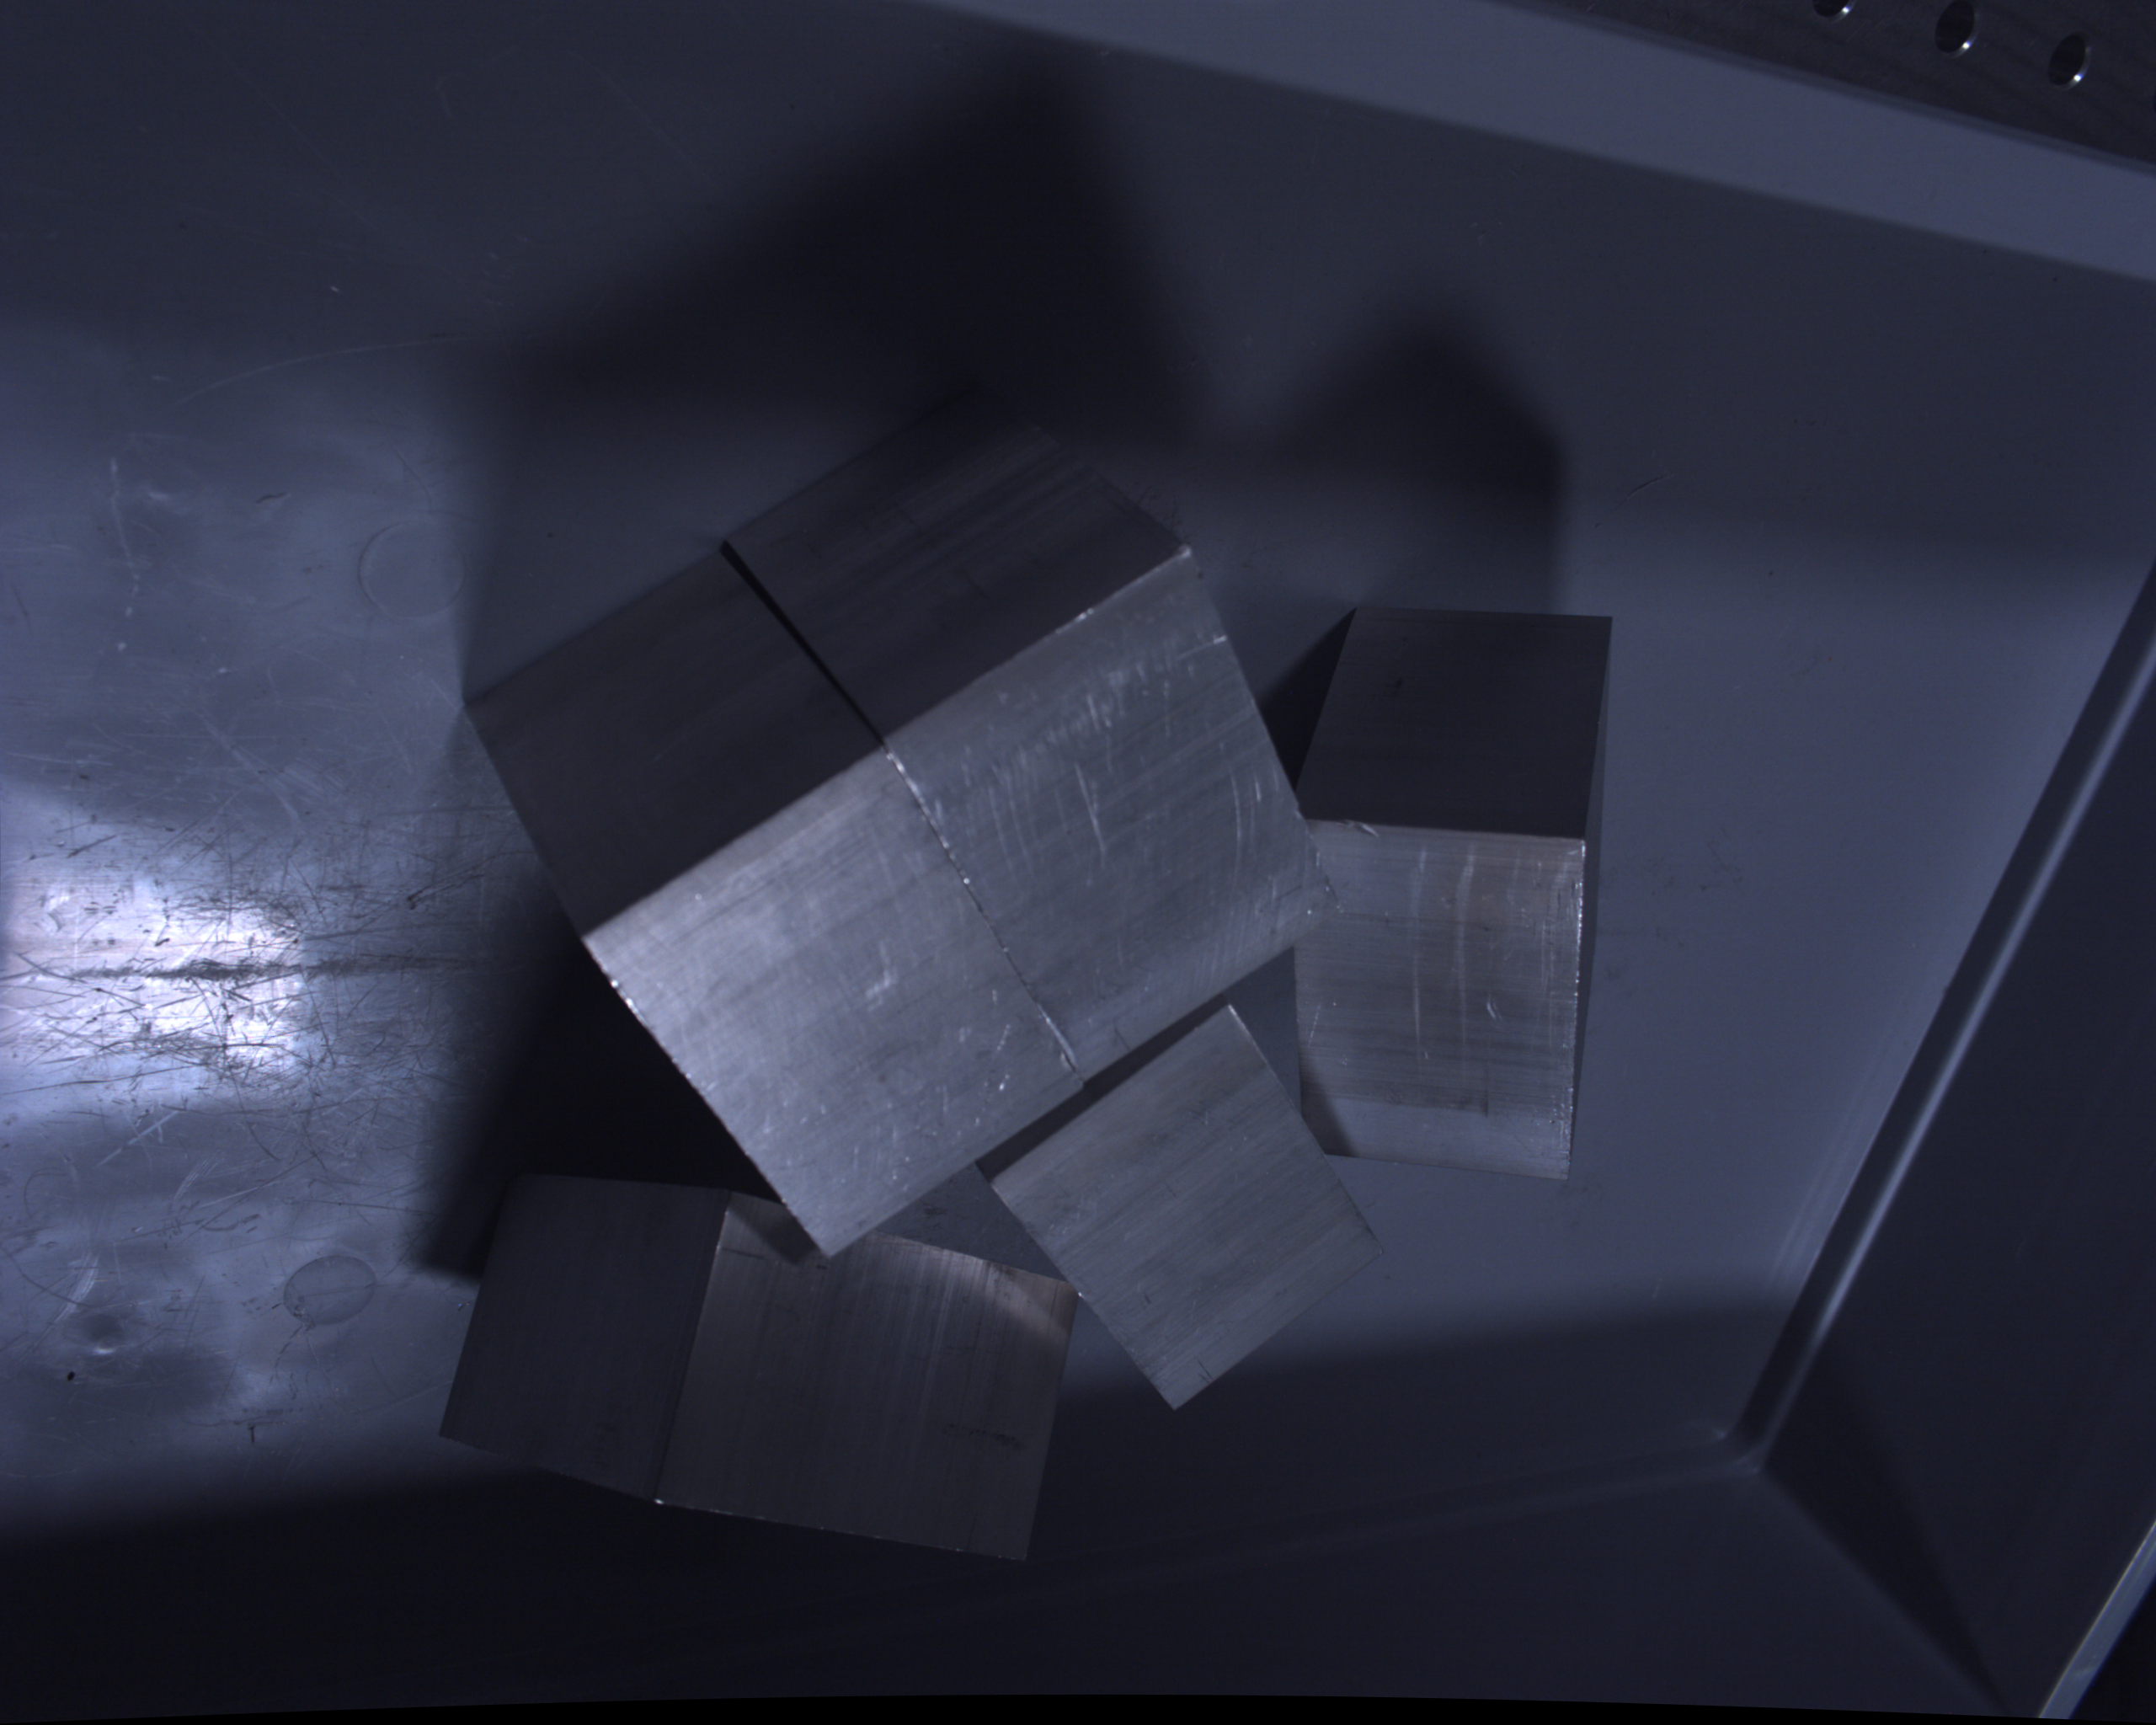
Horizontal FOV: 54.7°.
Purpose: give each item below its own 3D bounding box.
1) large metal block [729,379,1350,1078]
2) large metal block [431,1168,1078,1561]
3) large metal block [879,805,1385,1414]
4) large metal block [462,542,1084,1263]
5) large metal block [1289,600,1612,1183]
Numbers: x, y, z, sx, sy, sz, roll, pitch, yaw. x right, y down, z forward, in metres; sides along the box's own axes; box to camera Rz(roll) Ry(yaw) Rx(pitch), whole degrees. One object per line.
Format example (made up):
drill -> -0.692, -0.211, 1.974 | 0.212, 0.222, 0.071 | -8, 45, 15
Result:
large metal block -> -0.007, -0.024, 0.354 | 0.050, 0.080, 0.080 | -34, 129, -7
large metal block -> -0.059, 0.092, 0.389 | 0.080, 0.080, 0.050 | 24, 71, -37
large metal block -> 0.005, 0.045, 0.403 | 0.050, 0.080, 0.080 | -36, 130, -5
large metal block -> -0.051, 0.005, 0.348 | 0.050, 0.080, 0.080 | -33, 129, -7
large metal block -> 0.075, 0.003, 0.408 | 0.050, 0.080, 0.079 | 4, 126, 15
